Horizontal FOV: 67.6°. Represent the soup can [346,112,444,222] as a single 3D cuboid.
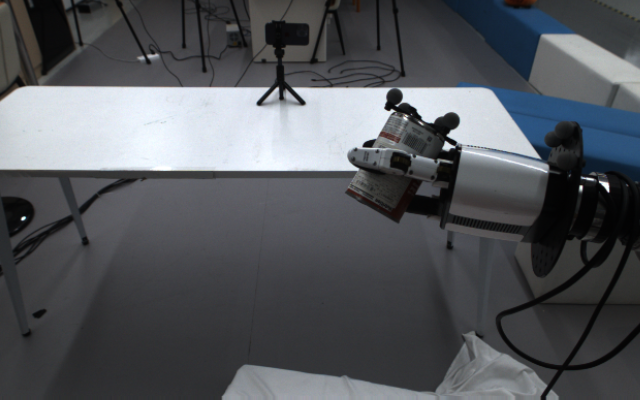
[{"bbox_3d":[0.083,-0.036,0.526,0.067,0.101,0.067,30,2,-1],"label":"soup can"}]
